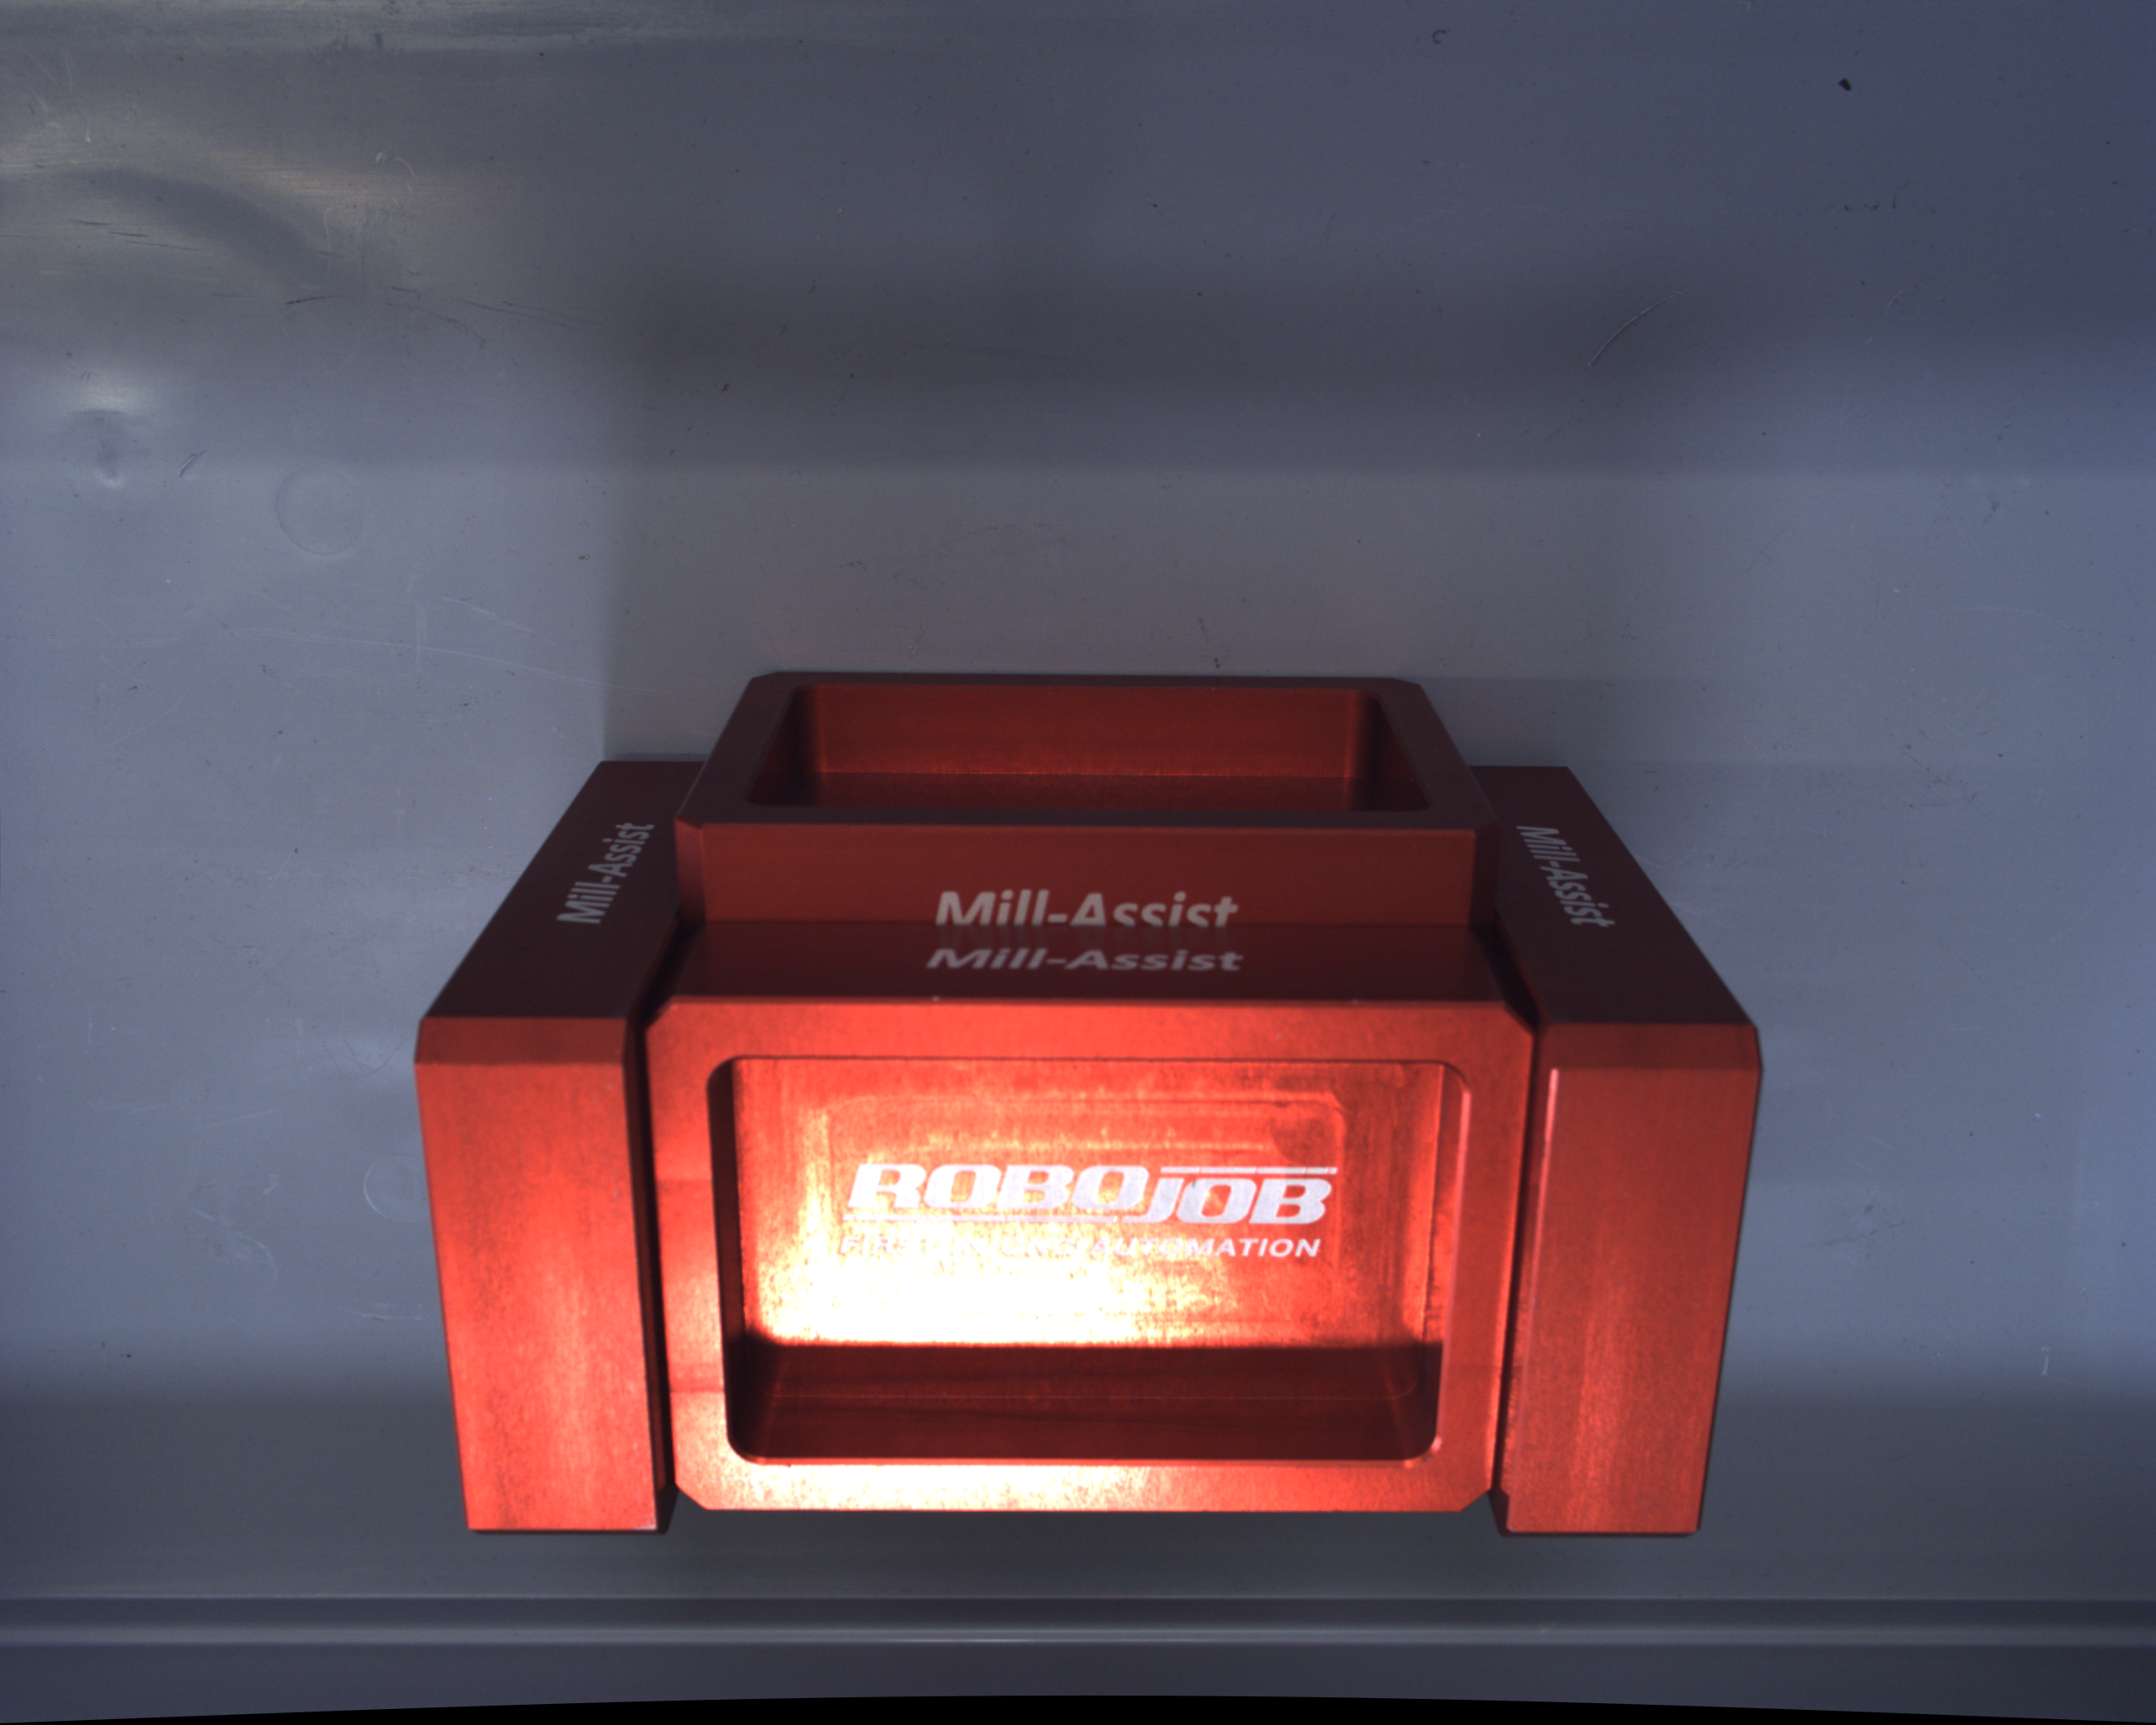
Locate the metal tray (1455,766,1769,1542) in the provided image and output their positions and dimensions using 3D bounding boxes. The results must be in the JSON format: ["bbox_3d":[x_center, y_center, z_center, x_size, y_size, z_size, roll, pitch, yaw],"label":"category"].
[{"bbox_3d":[0.082,0.044,0.370,0.030,0.130,0.089,1,111,0],"label":"metal tray"}]

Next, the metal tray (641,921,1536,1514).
[{"bbox_3d":[0.001,0.057,0.331,0.131,0.030,0.089,1,110,-1],"label":"metal tray"}]

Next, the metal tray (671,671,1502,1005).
[{"bbox_3d":[0.002,-0.007,0.371,0.131,0.090,0.030,0,111,0],"label":"metal tray"}]

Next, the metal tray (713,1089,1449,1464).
[{"bbox_3d":[0.001,0.076,0.401,0.131,0.090,0.030,0,110,0],"label":"metal tray"}]

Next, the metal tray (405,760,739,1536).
[{"bbox_3d":[-0.080,0.043,0.369,0.030,0.130,0.089,1,111,0],"label":"metal tray"}]
